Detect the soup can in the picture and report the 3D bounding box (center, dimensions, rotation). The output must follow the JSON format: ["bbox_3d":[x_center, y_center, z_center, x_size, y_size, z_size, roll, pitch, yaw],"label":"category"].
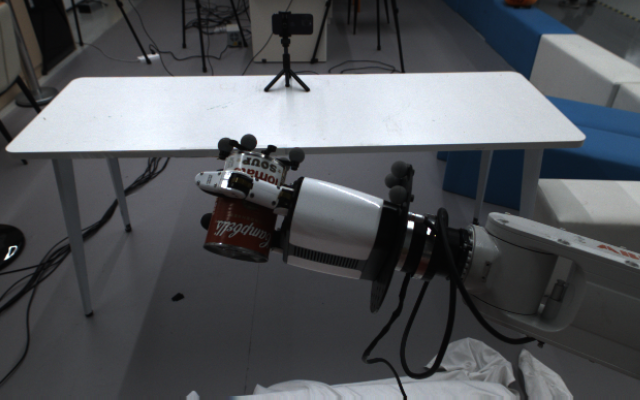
[{"bbox_3d":[-0.075,0.009,0.504,0.067,0.067,0.101,8,72,9],"label":"soup can"}]
